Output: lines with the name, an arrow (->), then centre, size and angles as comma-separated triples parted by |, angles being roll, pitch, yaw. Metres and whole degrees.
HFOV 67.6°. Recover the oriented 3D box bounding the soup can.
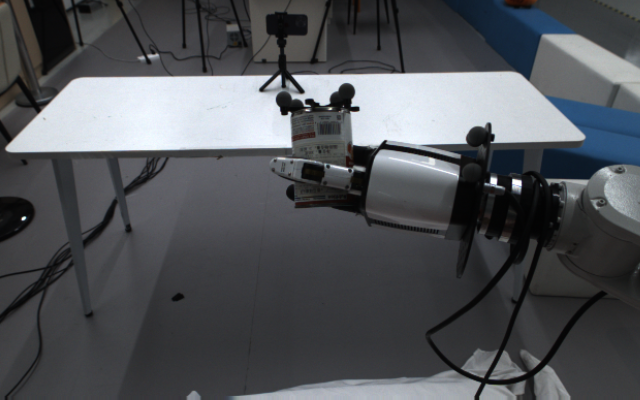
soup can -> 0.005, -0.042, 0.521 | 0.067, 0.101, 0.067 | -3, -1, 0
